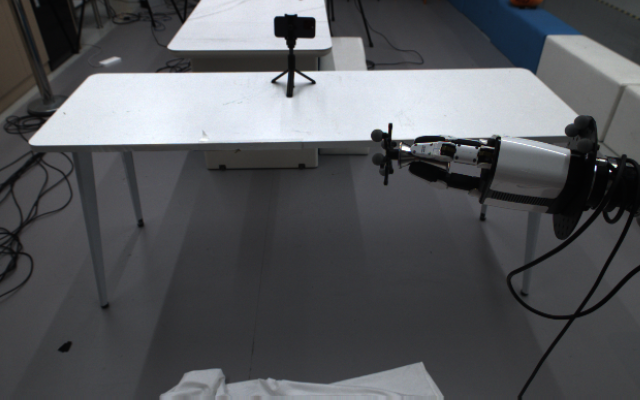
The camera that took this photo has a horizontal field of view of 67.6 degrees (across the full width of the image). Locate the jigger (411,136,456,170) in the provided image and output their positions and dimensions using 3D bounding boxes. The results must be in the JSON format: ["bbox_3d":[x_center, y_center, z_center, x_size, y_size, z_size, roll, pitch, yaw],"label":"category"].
[{"bbox_3d":[0.153,-0.066,0.675,0.071,0.043,0.043,3,34,18],"label":"jigger"}]
